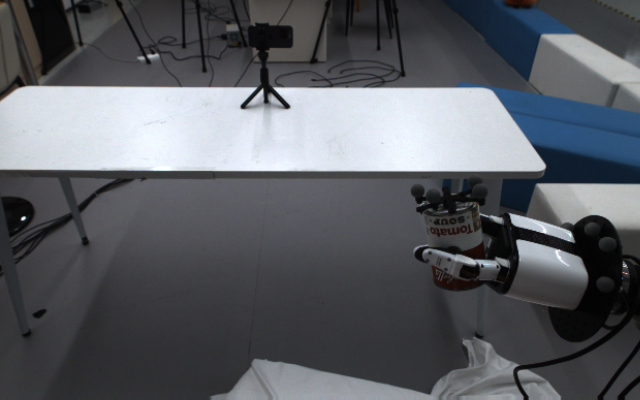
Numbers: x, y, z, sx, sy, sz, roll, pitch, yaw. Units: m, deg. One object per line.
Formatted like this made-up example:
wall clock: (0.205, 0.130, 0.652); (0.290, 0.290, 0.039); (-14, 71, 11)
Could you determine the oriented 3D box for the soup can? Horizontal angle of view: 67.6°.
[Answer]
soup can: (0.168, 0.050, 0.597); (0.067, 0.101, 0.067); (-12, 17, 4)
